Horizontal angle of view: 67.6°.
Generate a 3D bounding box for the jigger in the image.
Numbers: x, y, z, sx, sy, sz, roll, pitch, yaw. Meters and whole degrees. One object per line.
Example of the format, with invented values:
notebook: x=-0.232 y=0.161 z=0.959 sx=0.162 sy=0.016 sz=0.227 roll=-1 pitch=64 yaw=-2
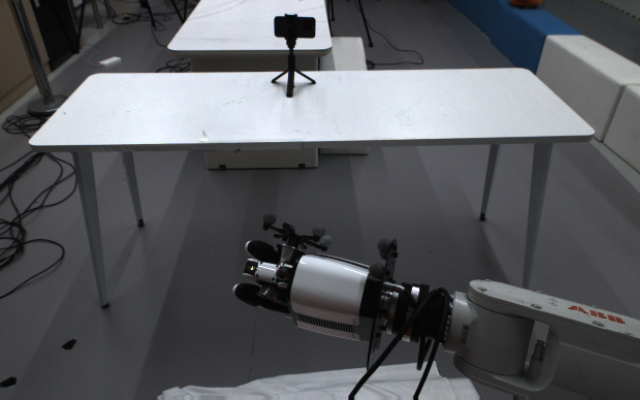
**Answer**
jigger: x=-0.045 y=0.094 z=0.611 sx=0.043 sy=0.043 sz=0.071 roll=13 pitch=70 yaw=16
